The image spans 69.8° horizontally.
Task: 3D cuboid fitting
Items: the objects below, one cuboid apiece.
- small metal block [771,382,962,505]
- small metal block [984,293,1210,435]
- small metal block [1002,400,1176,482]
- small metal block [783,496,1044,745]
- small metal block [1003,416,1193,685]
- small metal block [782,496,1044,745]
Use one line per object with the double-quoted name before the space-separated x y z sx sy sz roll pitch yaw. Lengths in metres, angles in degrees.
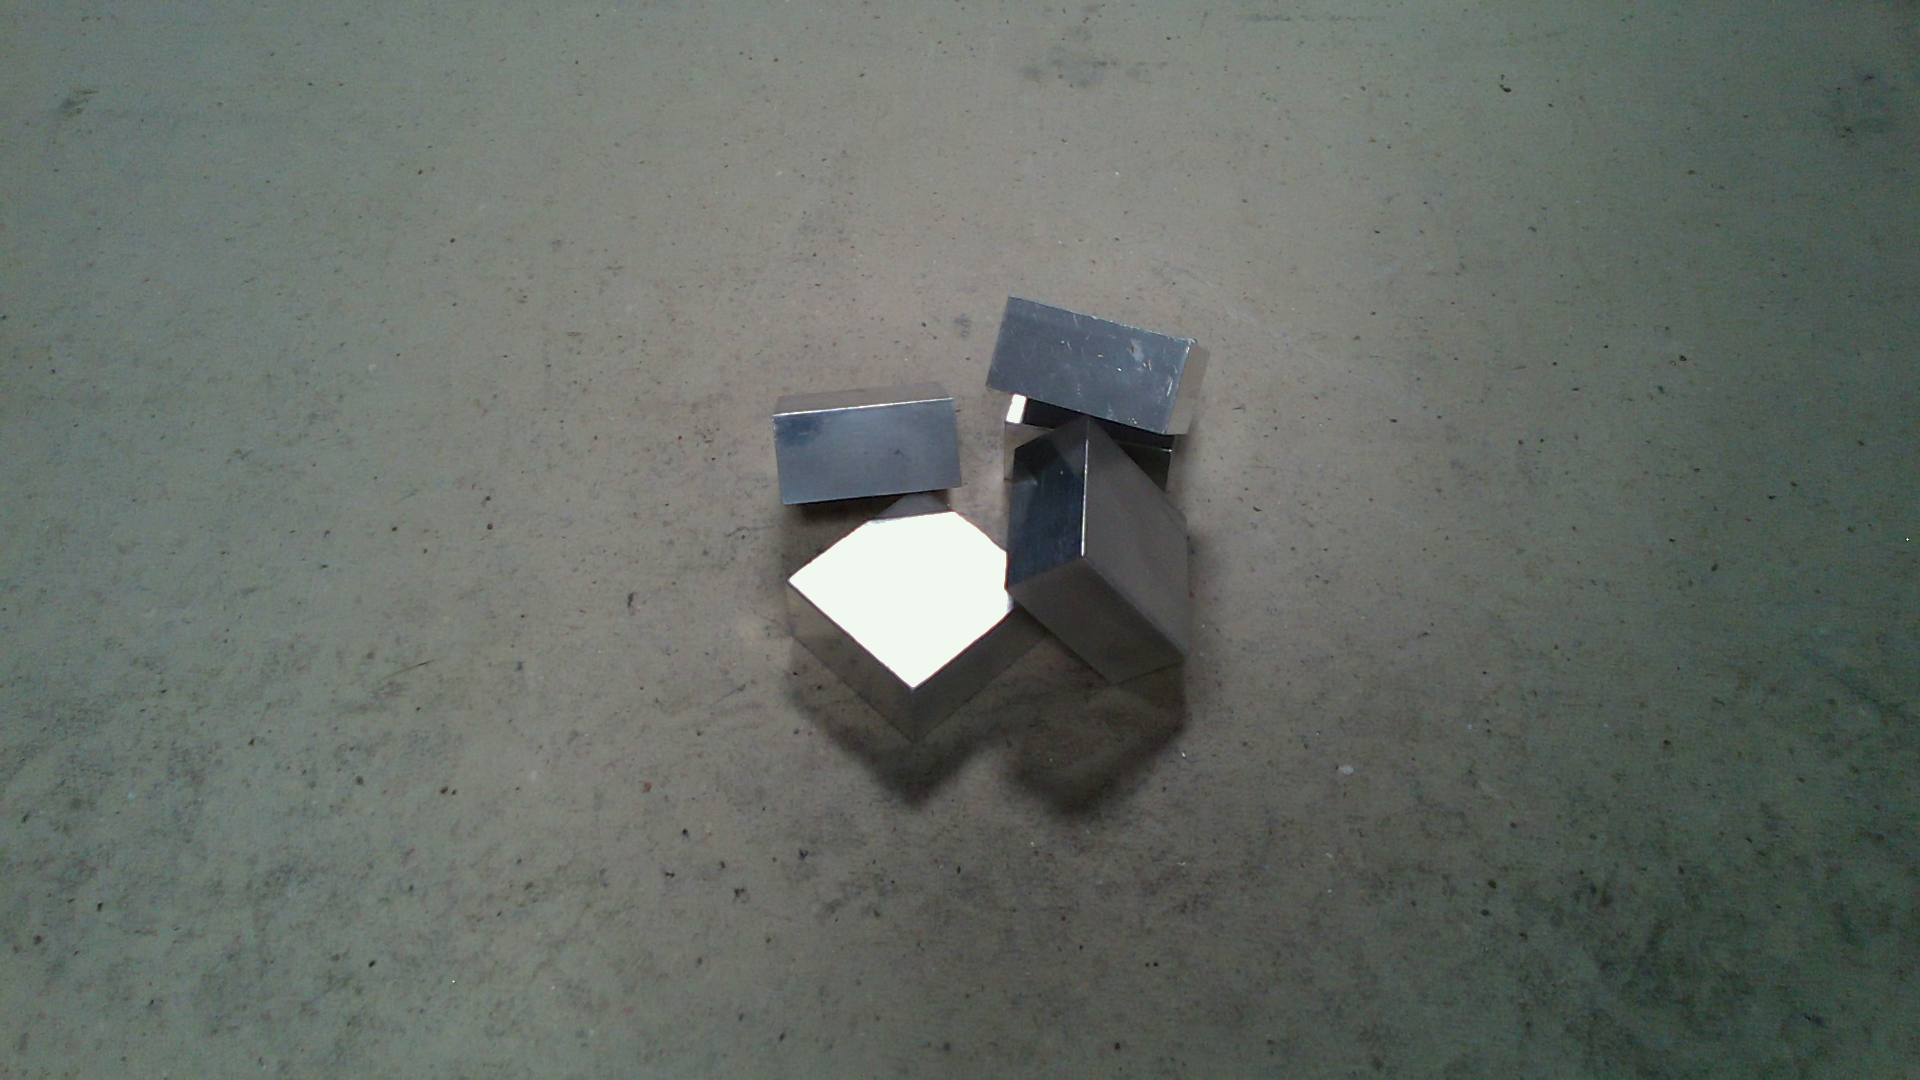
"small metal block" -0.028 -0.029 0.400 0.050 0.025 0.050 -6 12 -5
"small metal block" 0.040 -0.048 0.382 0.050 0.025 0.050 17 9 14
"small metal block" 0.043 -0.041 0.427 0.050 0.025 0.050 11 51 9
"small metal block" -0.012 0.019 0.376 0.050 0.025 0.050 -37 59 -27
"small metal block" 0.038 0.002 0.370 0.025 0.050 0.050 -25 41 31
"small metal block" -0.012 0.019 0.376 0.050 0.025 0.050 -37 59 -27
